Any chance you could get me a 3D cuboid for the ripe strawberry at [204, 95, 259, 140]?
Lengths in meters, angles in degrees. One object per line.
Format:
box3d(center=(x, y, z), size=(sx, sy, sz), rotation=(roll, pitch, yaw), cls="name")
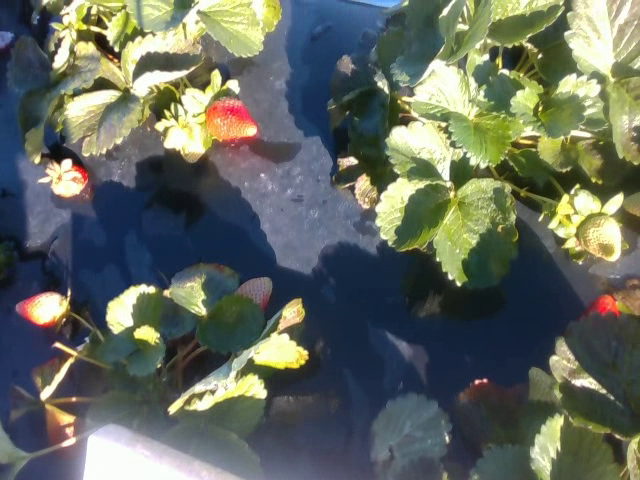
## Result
box3d(center=(-0.079, -0.111, 0.578), size=(0.064, 0.050, 0.052), rotation=(26, 20, 29), cls="ripe strawberry")
